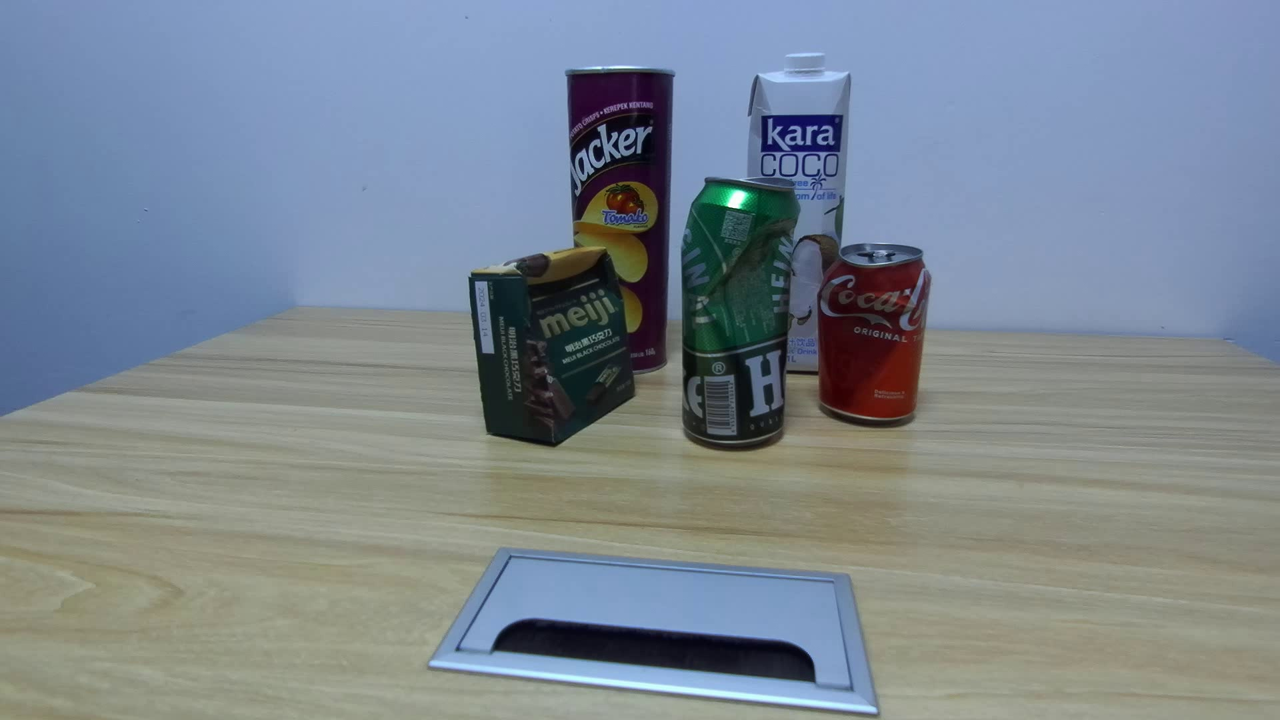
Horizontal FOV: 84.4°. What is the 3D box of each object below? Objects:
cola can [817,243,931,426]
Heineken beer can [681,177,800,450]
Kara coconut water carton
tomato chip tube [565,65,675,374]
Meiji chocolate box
[{"bbox_3d":[0.163,-0.019,0.484,0.066,0.117,0.072,-12,21,-37],"label":"cola can"},{"bbox_3d":[0.060,-0.029,0.440,0.078,0.164,0.066,1,17,-4],"label":"Heineken beer can"},{"bbox_3d":[0.125,-0.116,0.574,0.077,0.245,0.075,1,17,10],"label":"Kara coconut water carton"},{"bbox_3d":[-0.013,-0.110,0.580,0.080,0.234,0.077,7,17,24],"label":"tomato chip tube"},{"bbox_3d":[-0.058,-0.013,0.490,0.058,0.110,0.113,-1,14,27],"label":"Meiji chocolate box"}]
